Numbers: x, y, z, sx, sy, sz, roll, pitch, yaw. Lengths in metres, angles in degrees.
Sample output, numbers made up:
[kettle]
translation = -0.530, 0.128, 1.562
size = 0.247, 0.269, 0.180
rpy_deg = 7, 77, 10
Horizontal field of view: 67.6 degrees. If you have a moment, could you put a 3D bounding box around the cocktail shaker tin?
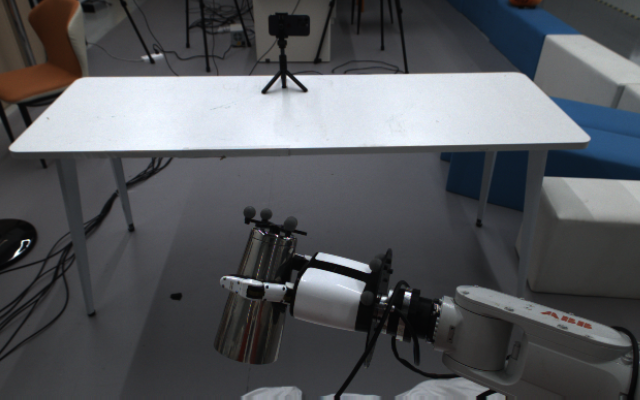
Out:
[cocktail shaker tin]
translation = -0.083, 0.127, 0.672
size = 0.093, 0.170, 0.093
rpy_deg = 13, 2, 0
